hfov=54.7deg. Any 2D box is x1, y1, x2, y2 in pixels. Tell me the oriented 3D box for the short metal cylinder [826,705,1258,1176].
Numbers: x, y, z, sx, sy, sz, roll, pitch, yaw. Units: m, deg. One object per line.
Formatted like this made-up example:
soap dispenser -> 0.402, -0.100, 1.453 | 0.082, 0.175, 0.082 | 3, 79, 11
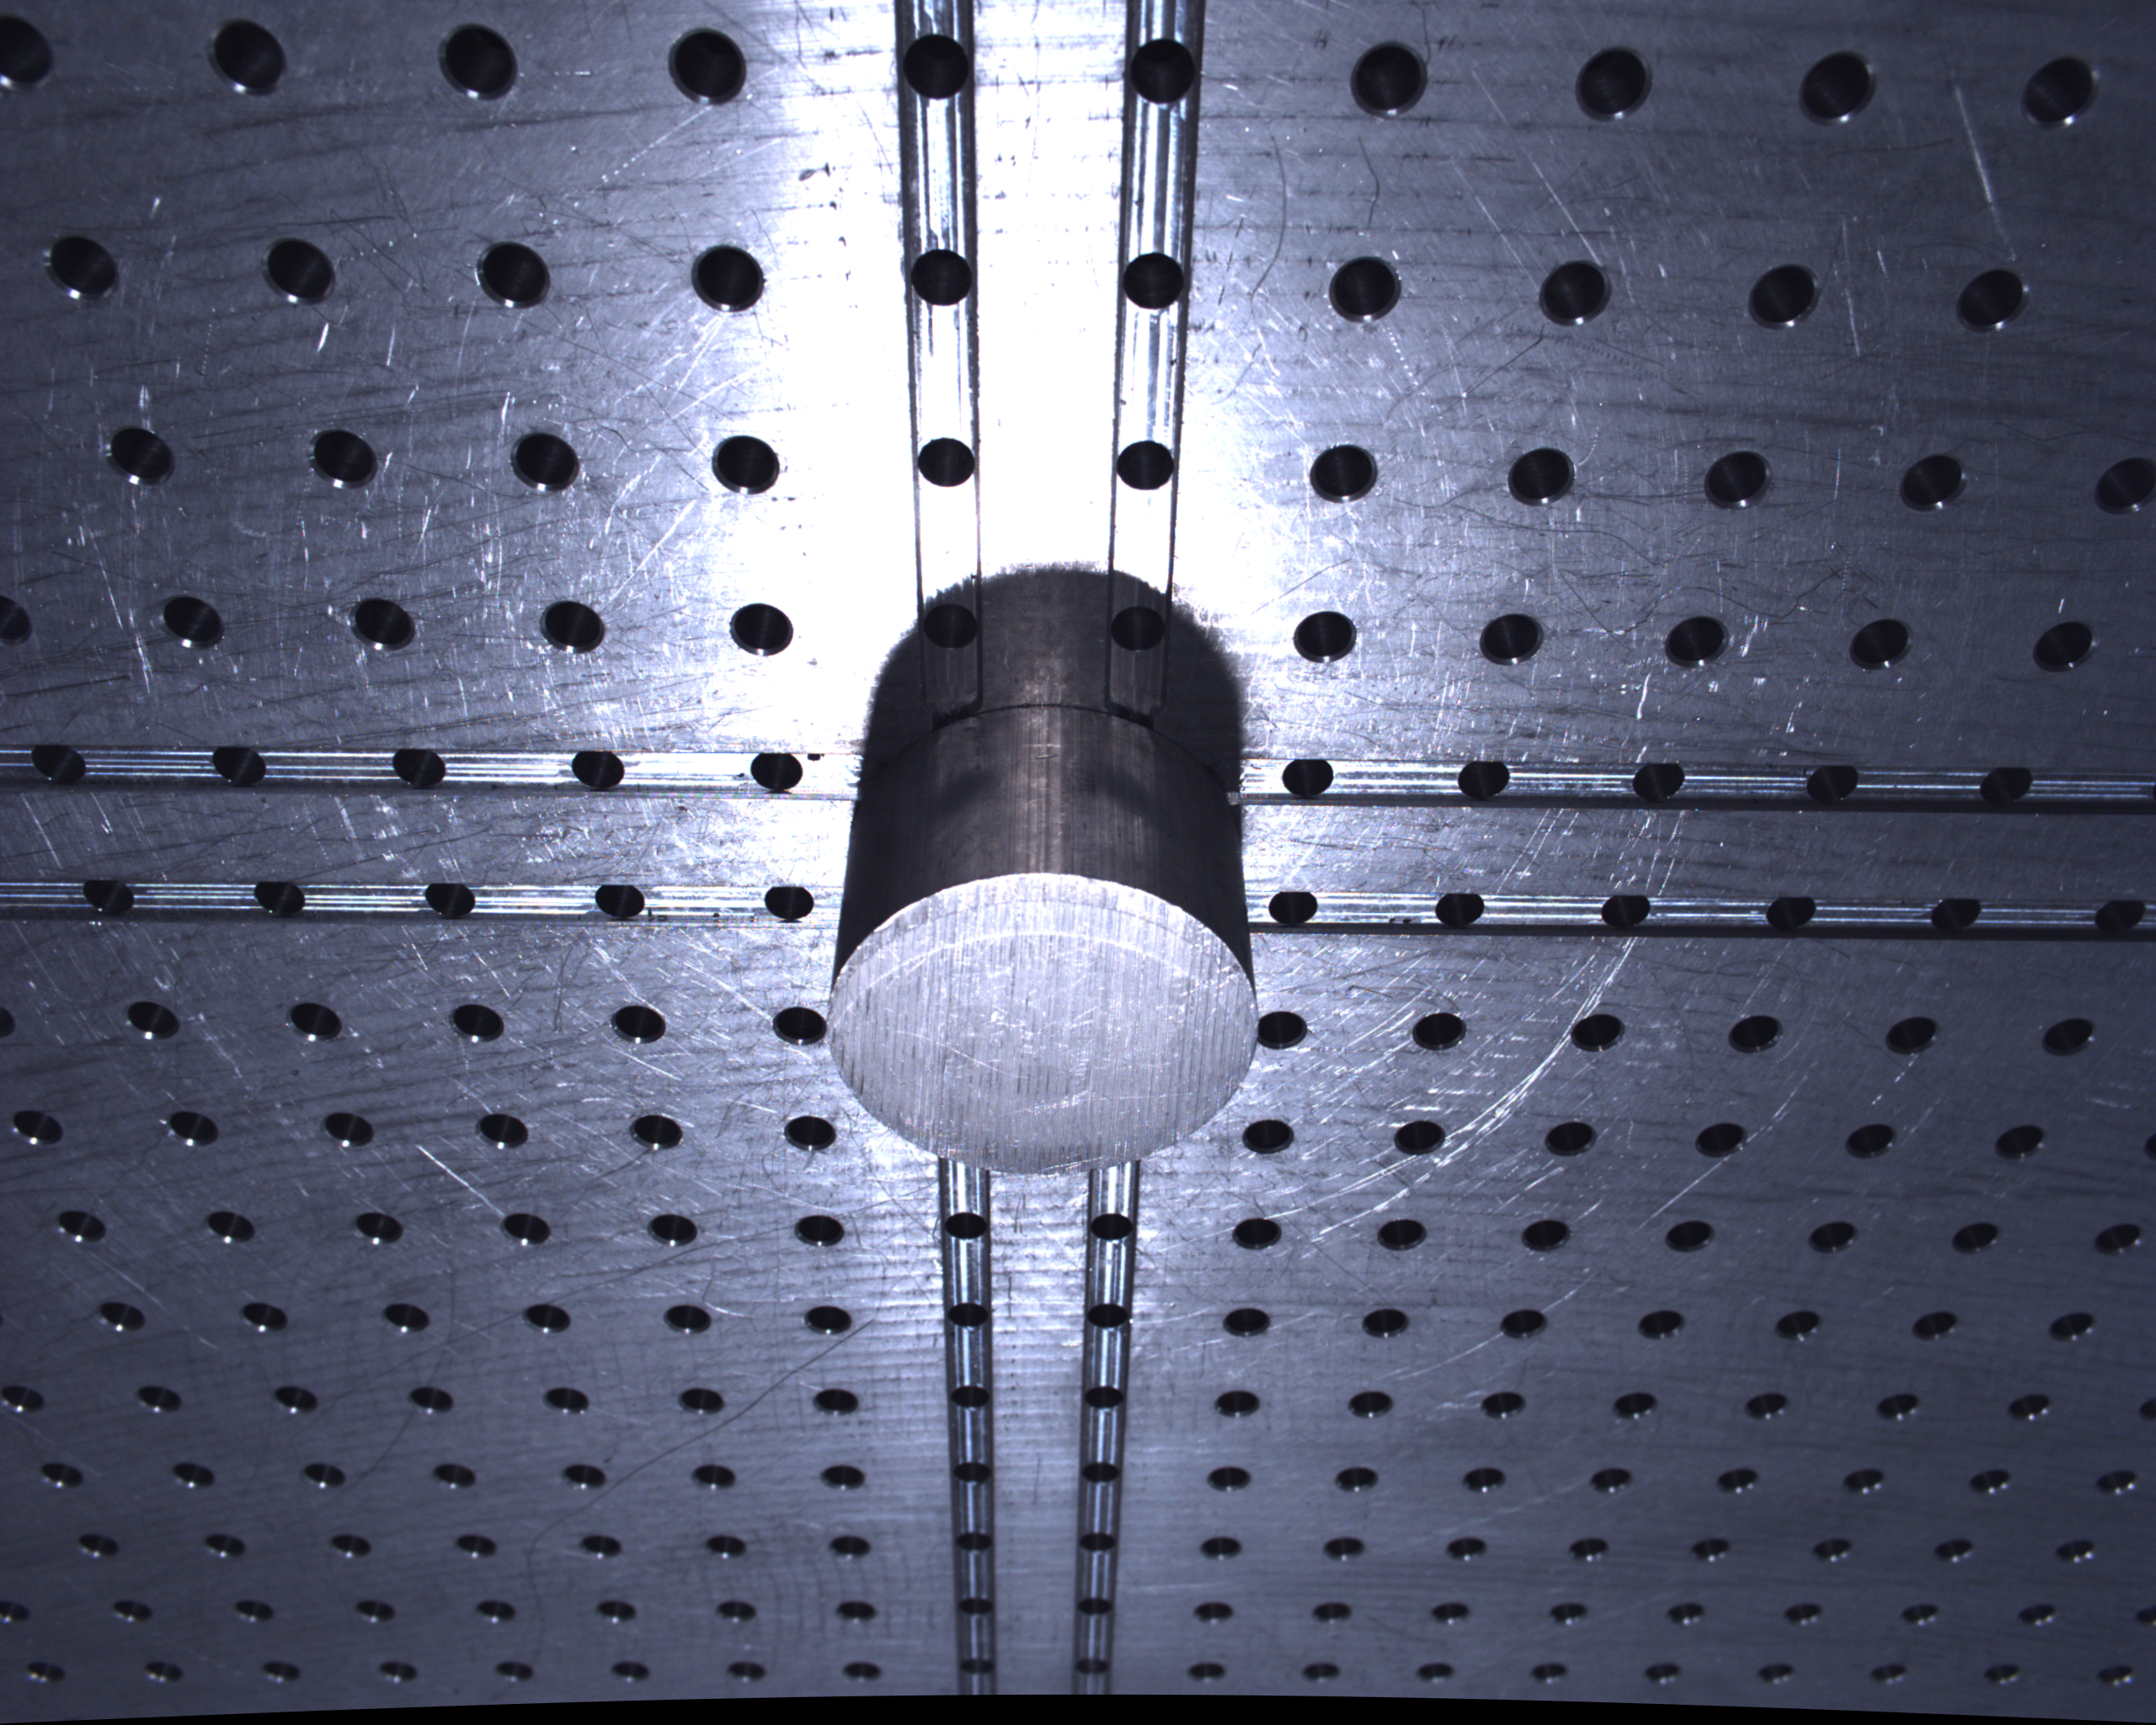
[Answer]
short metal cylinder -> -0.007, 0.016, 0.408 | 0.081, 0.050, 0.079 | 0, 130, 0
